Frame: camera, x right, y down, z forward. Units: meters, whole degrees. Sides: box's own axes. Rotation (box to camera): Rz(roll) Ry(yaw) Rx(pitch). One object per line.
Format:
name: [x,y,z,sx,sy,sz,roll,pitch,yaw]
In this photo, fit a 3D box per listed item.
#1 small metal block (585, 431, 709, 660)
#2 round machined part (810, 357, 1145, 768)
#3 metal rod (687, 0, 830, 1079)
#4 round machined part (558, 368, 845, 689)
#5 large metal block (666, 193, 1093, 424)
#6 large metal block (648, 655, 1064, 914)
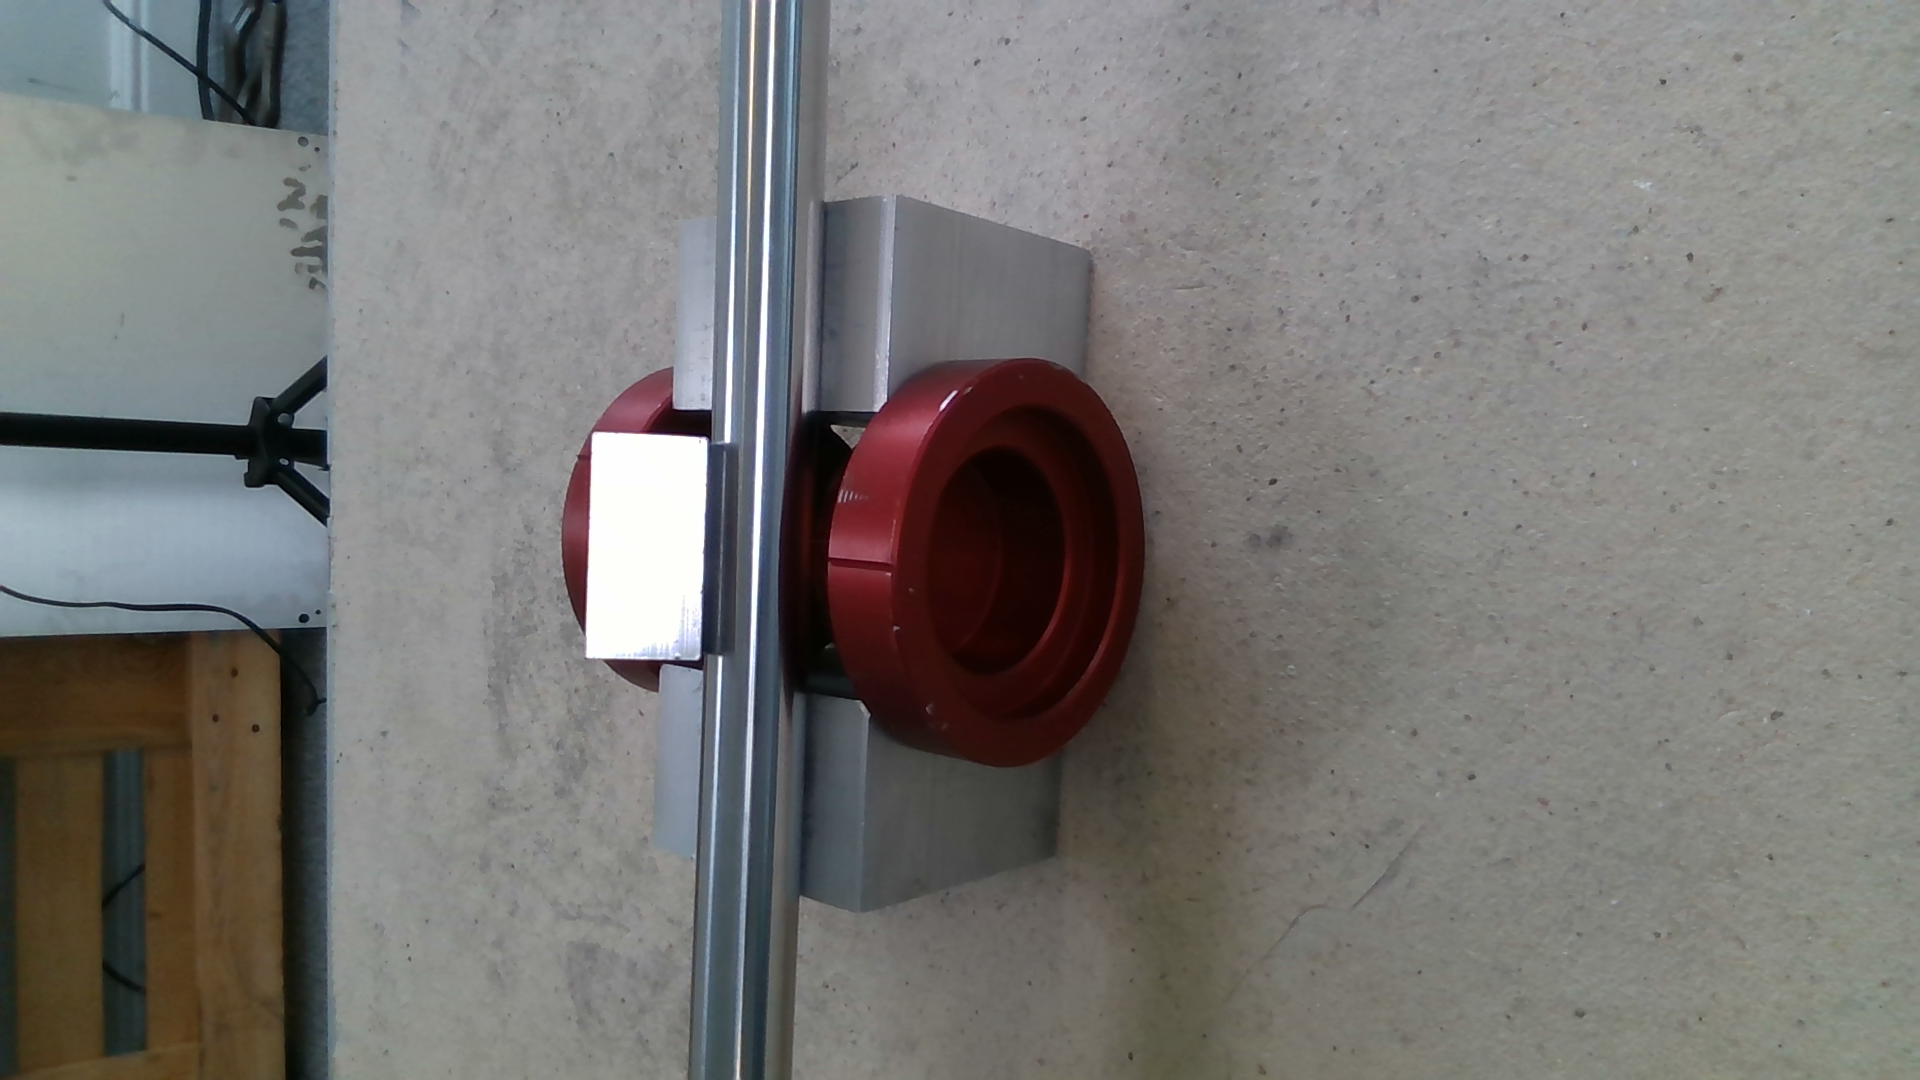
small metal block: [-0.074,0.001,0.331,0.050,0.025,0.050,-178,90,-81]
round machined part: [0.001,0.004,0.342,0.042,0.098,0.098,5,94,41]
metal rod: [-0.048,0.005,0.327,0.025,0.025,0.300,4,93,40]
round machined part: [-0.063,-0.001,0.396,0.042,0.098,0.098,6,94,35]
large metal block: [-0.021,-0.058,0.373,0.080,0.080,0.050,6,94,40]
large metal block: [-0.028,0.060,0.379,0.080,0.080,0.050,5,93,40]
